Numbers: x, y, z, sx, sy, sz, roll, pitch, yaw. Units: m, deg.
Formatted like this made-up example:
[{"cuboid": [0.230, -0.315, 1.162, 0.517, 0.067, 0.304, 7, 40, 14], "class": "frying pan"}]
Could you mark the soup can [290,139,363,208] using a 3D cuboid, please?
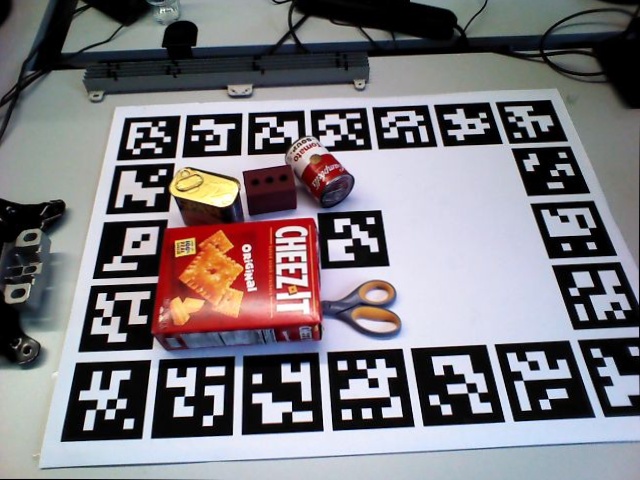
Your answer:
[{"cuboid": [0.008, -0.107, 0.819, 0.067, 0.068, 0.102, -36, 60, -18], "class": "soup can"}]

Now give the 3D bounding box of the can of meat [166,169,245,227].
[{"cuboid": [-0.167, -0.058, 0.774, 0.102, 0.084, 0.057, 10, 61, 7], "class": "can of meat"}]

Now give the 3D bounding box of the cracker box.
[{"cuboid": [-0.109, 0.057, 0.697, 0.214, 0.072, 0.163, -9, 59, 1], "class": "cracker box"}]

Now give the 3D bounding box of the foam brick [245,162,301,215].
[{"cuboid": [-0.072, -0.080, 0.807, 0.078, 0.051, 0.052, -11, 60, -5], "class": "foam brick"}]

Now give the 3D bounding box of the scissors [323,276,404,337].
[{"cuboid": [0.008, 0.098, 0.705, 0.203, 0.016, 0.087, -7, 60, -2], "class": "scissors"}]
